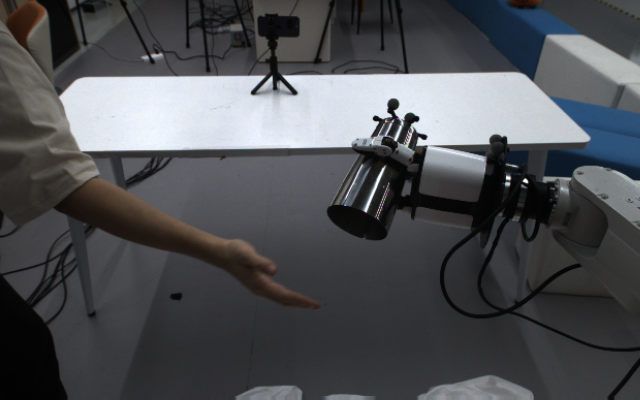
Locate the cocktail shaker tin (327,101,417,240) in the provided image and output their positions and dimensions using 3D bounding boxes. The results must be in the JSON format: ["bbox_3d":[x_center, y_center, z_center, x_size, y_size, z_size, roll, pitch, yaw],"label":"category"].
[{"bbox_3d":[0.086,-0.037,0.708,0.093,0.093,0.170,16,63,20],"label":"cocktail shaker tin"}]
